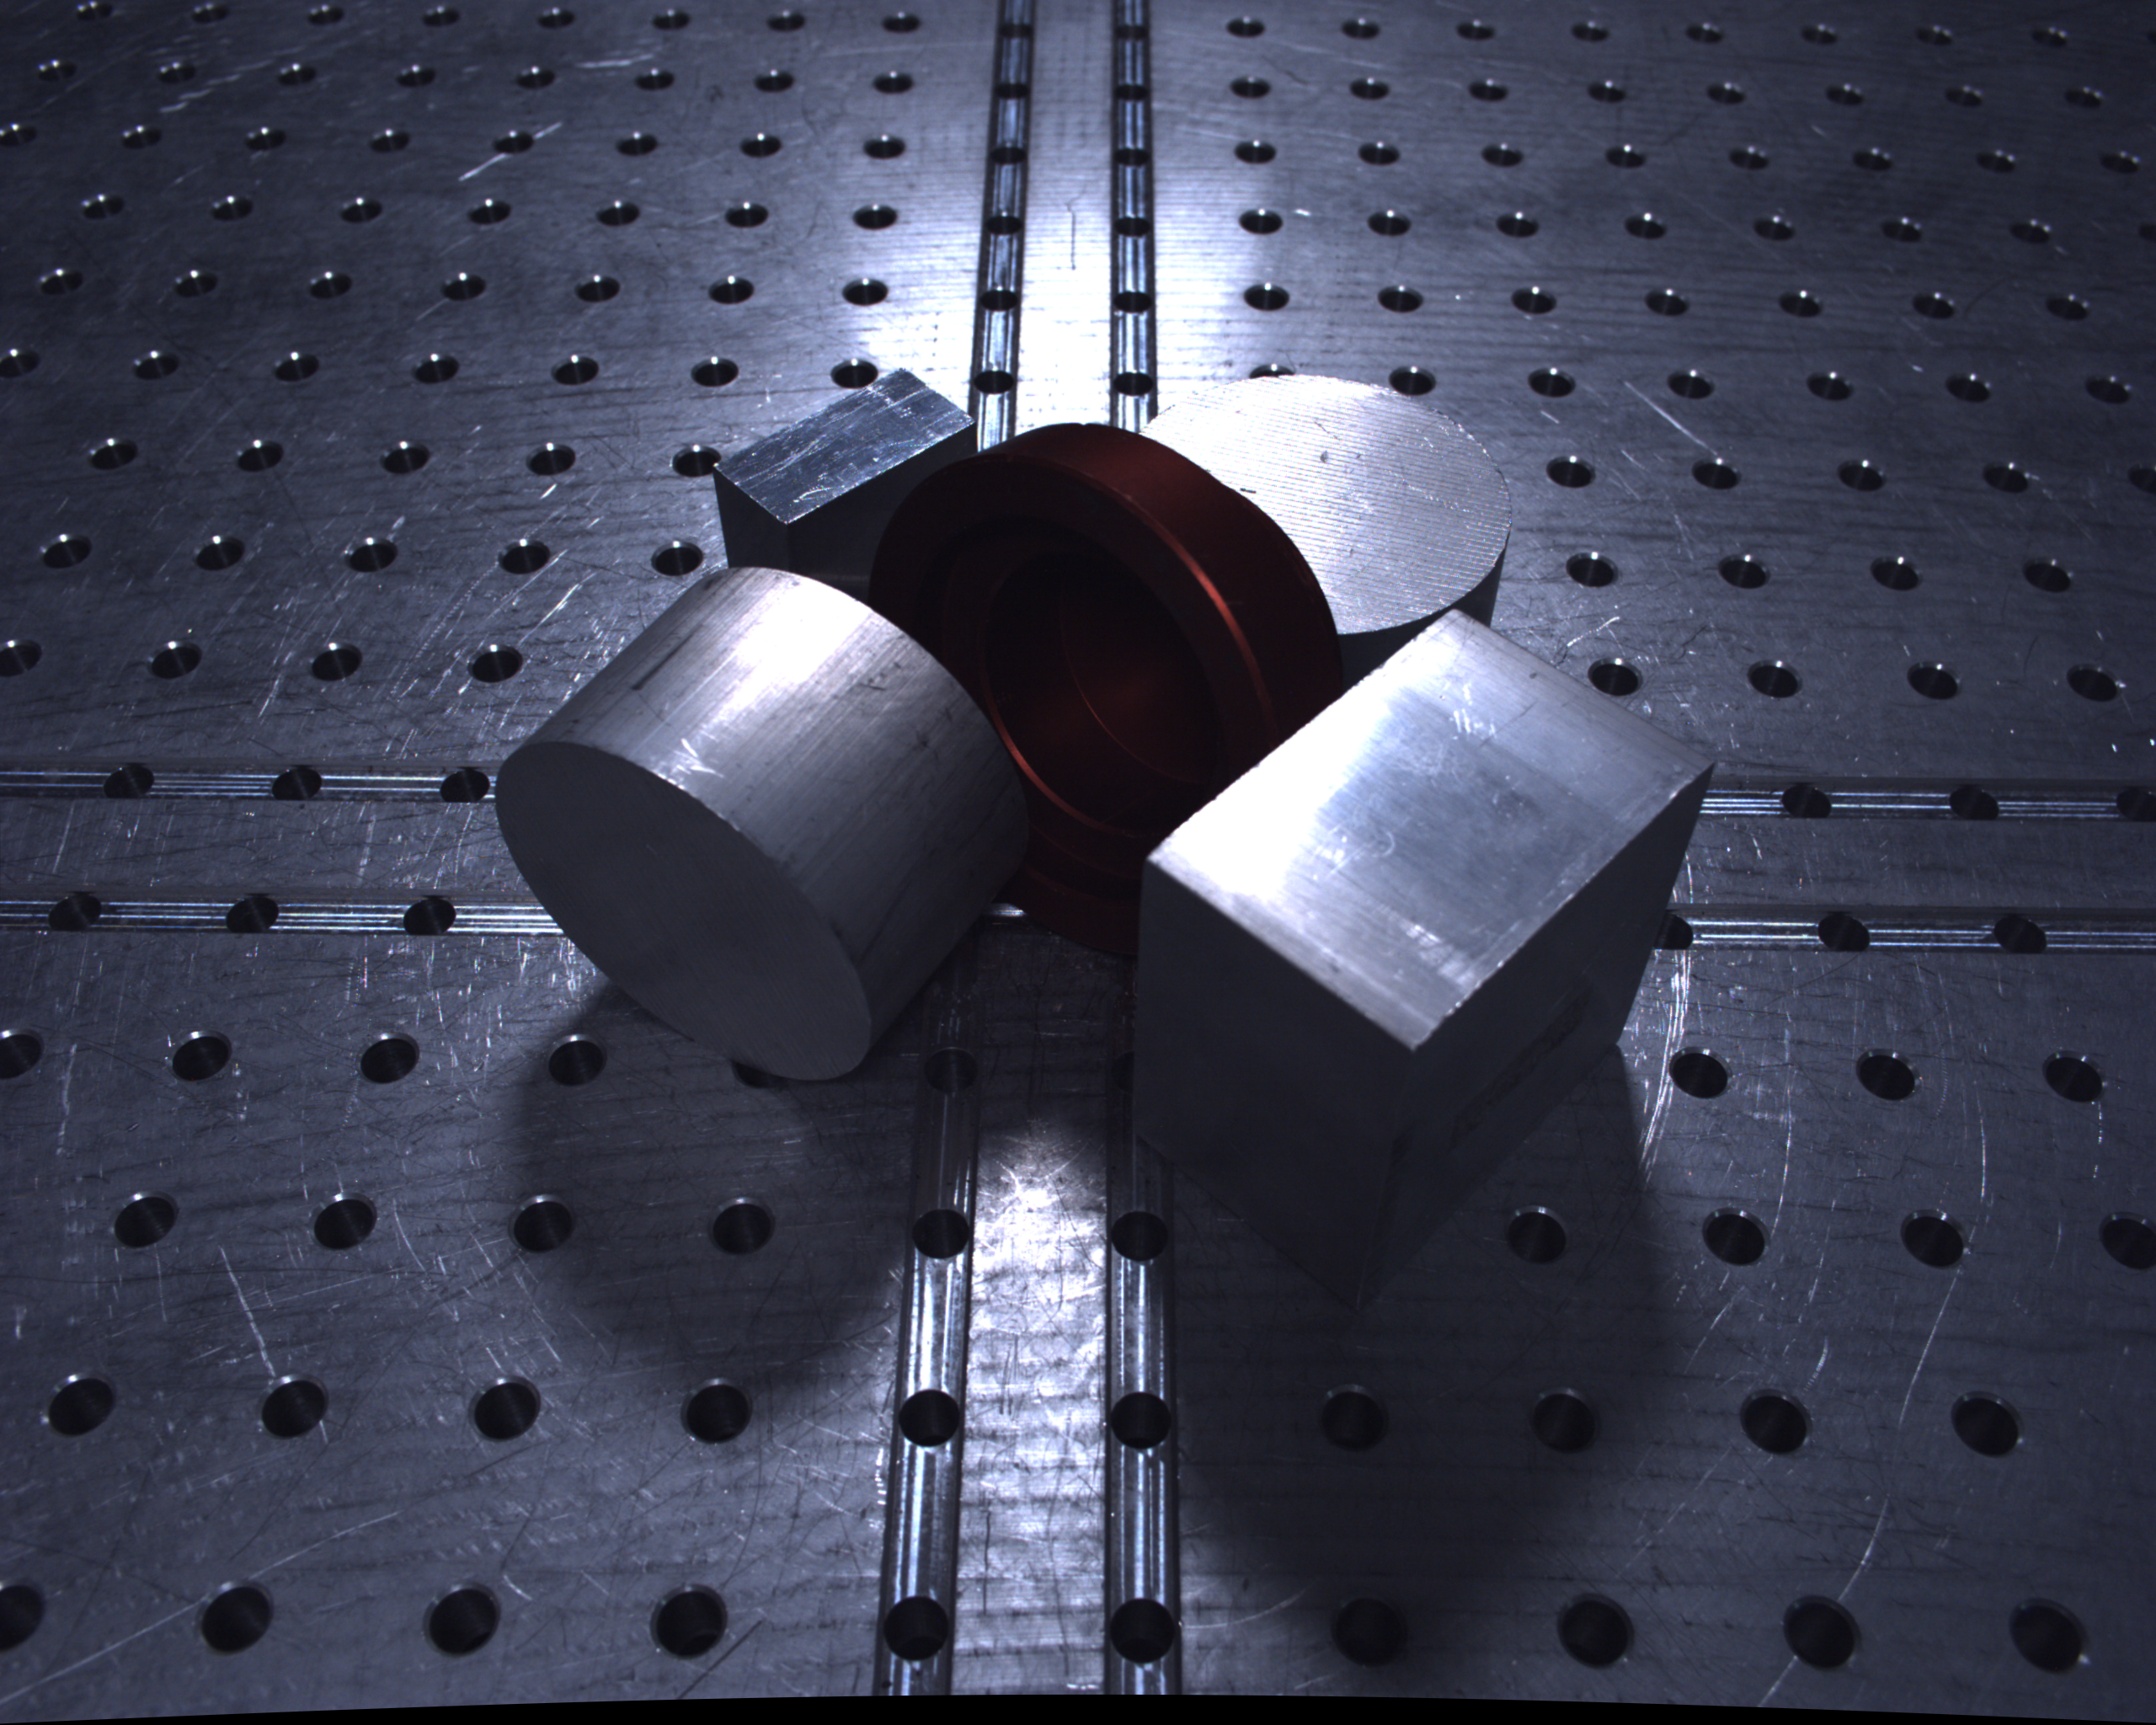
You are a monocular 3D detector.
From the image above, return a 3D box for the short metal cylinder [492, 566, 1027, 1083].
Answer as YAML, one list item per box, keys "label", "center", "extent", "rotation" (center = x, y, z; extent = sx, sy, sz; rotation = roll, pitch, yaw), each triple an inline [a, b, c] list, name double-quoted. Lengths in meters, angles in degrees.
- label: "short metal cylinder"
  center: [-0.057, -0.006, 0.376]
  extent: [0.080, 0.080, 0.050]
  rotation: [25, 54, 19]

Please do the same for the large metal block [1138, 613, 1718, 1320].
- label: "large metal block"
  center: [0.057, 0.018, 0.358]
  extent: [0.050, 0.080, 0.080]
  rotation: [36, 58, 26]

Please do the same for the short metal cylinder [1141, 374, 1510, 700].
- label: "short metal cylinder"
  center: [0.047, -0.058, 0.440]
  extent: [0.081, 0.050, 0.080]
  rotation: [0, 50, 0]

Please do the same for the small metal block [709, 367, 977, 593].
- label: "small metal block"
  center: [-0.048, -0.071, 0.450]
  extent: [0.050, 0.050, 0.025]
  rotation: [-35, 59, -26]

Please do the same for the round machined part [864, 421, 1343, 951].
- label: "round machined part"
  center: [0.009, -0.036, 0.391]
  extent: [0.098, 0.097, 0.042]
  rotation: [34, 45, 24]
